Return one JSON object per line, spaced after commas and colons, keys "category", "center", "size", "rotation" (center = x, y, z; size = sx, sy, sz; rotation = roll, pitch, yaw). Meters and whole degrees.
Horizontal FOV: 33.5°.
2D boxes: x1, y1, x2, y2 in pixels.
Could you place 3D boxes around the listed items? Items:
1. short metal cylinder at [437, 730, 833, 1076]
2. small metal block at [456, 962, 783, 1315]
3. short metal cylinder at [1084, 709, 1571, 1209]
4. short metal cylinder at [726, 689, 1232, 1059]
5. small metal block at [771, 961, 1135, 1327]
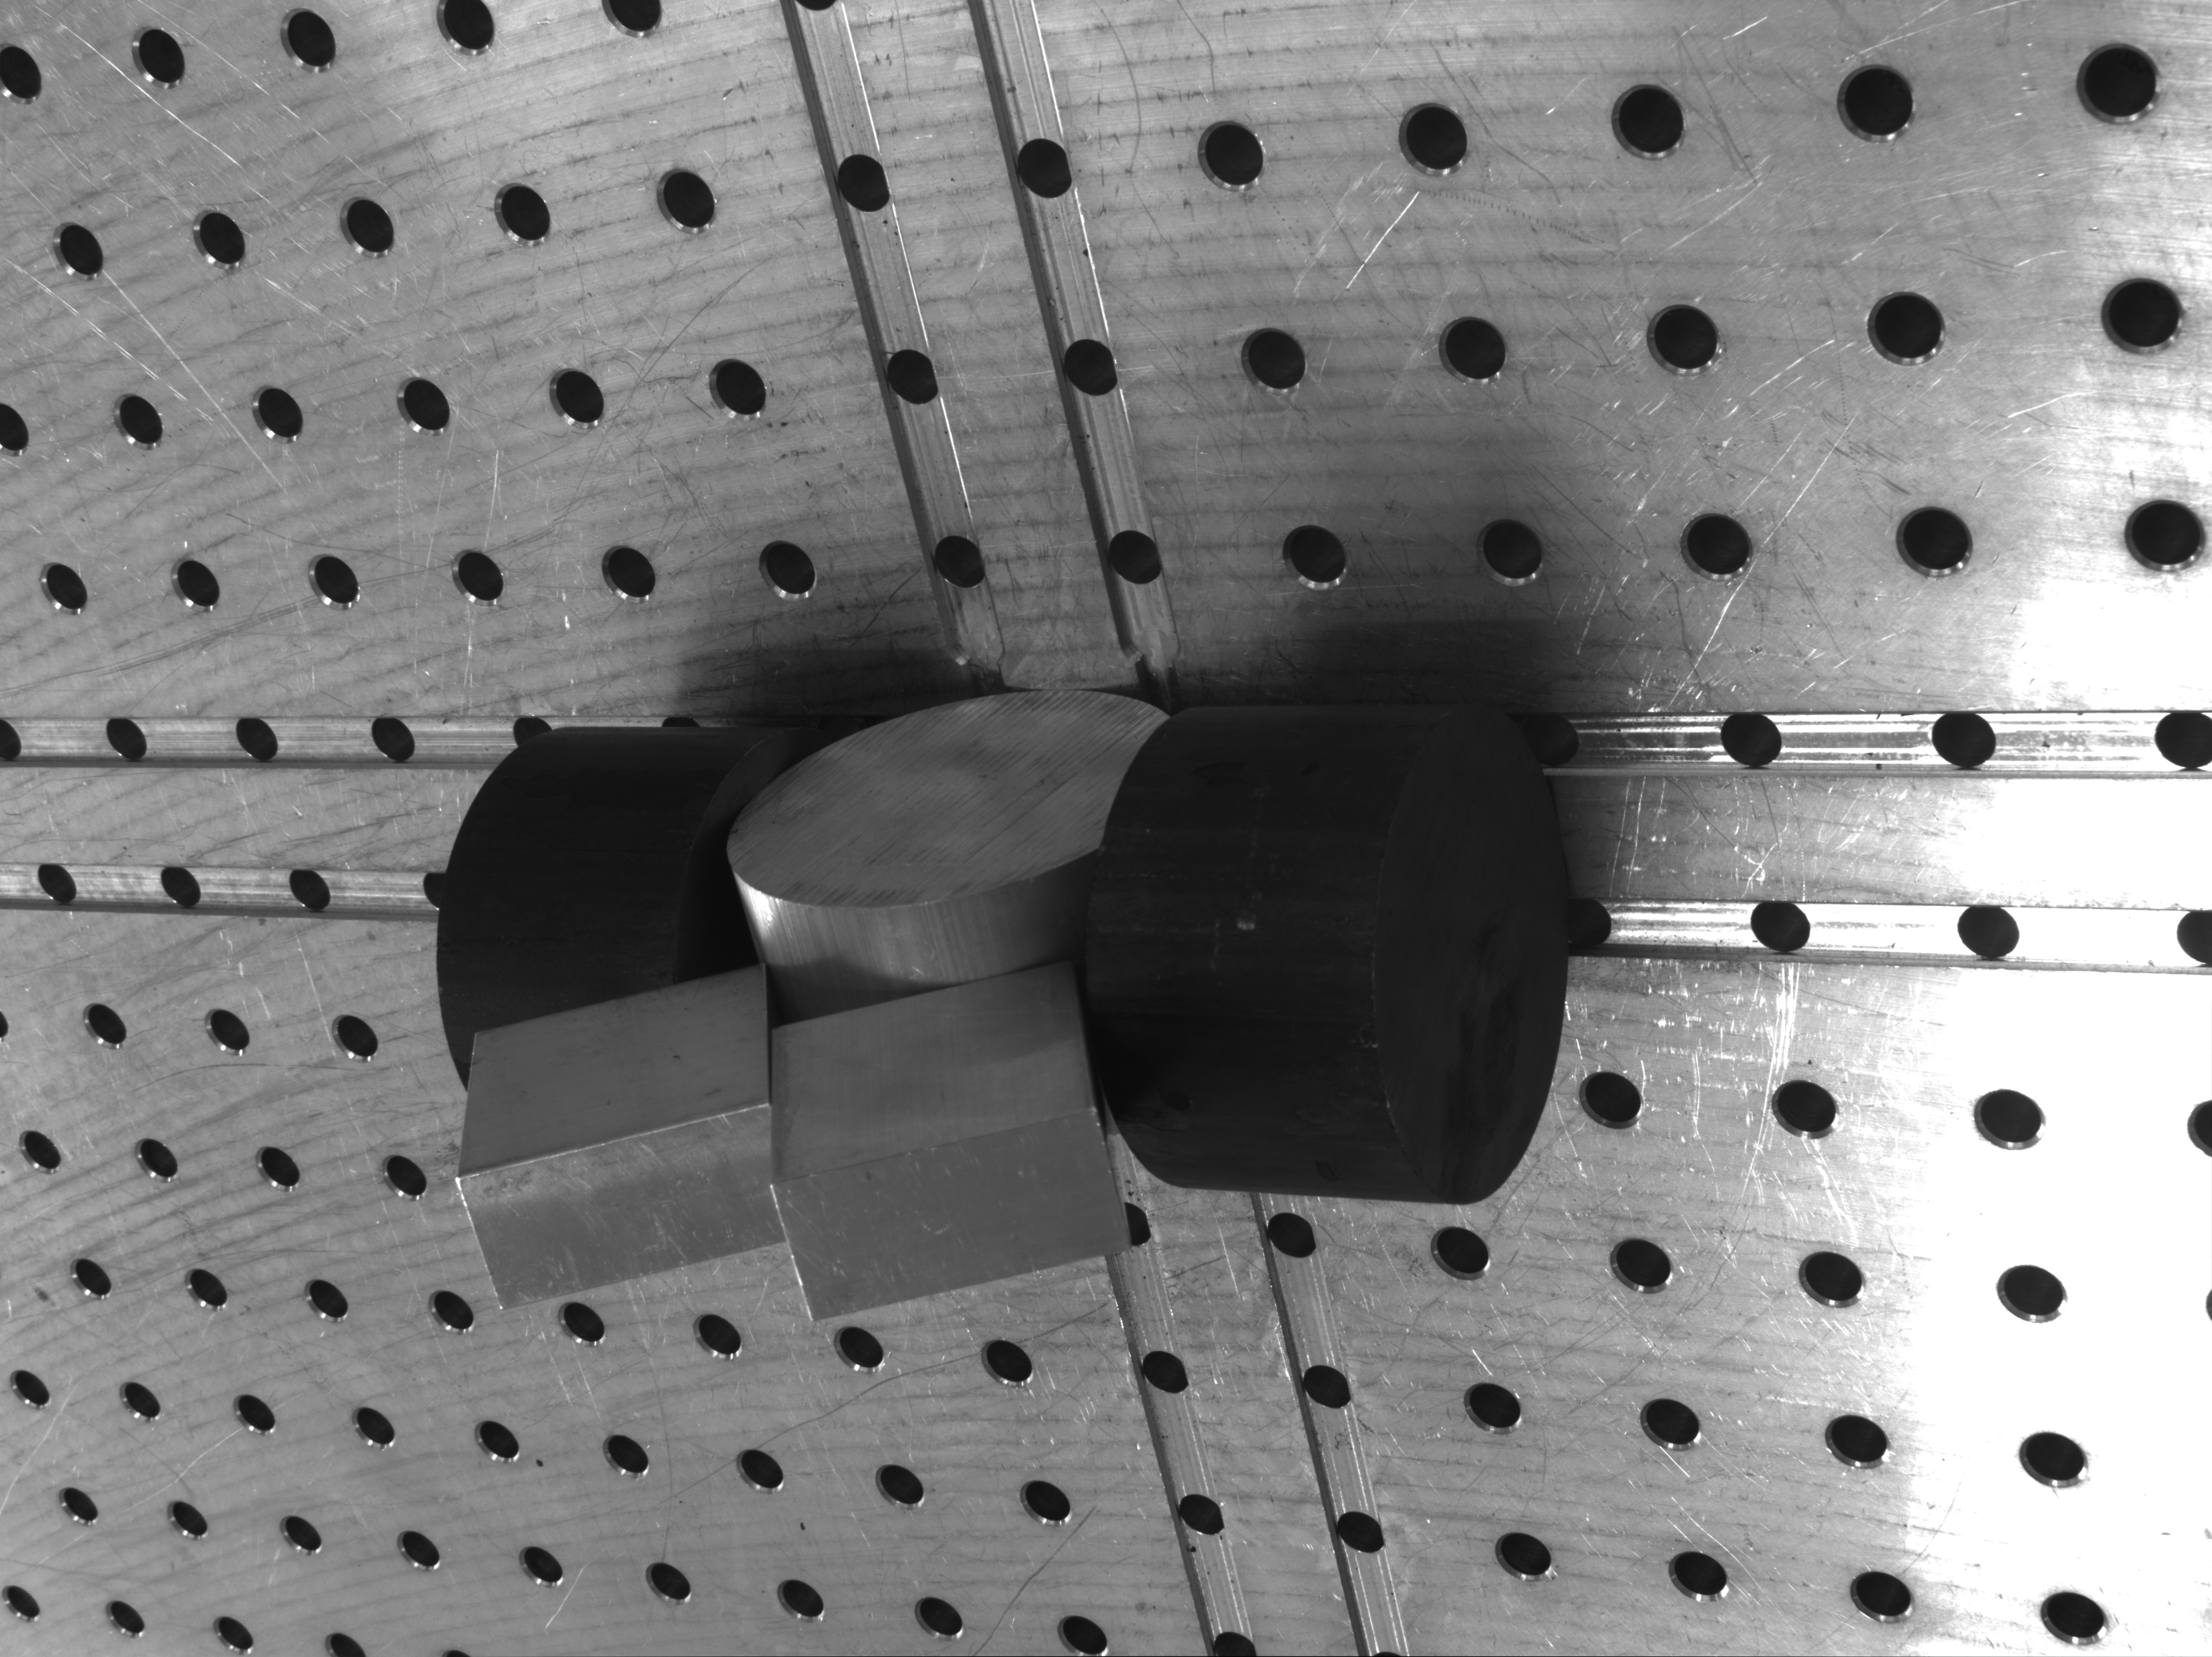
{"category": "short metal cylinder", "center": [-0.076, 0.022, 0.664], "size": [0.050, 0.080, 0.080], "rotation": [1, 119, 28]}
{"category": "small metal block", "center": [-0.076, 0.049, 0.596], "size": [0.050, 0.050, 0.025], "rotation": [-14, 115, 0]}
{"category": "short metal cylinder", "center": [0.038, 0.020, 0.602], "size": [0.050, 0.080, 0.080], "rotation": [1, 119, 29]}
{"category": "short metal cylinder", "center": [-0.020, 0.016, 0.631], "size": [0.080, 0.080, 0.050], "rotation": [1, 119, 28]}
{"category": "small metal block", "center": [-0.025, 0.048, 0.574], "size": [0.050, 0.050, 0.025], "rotation": [-13, 115, 1]}
